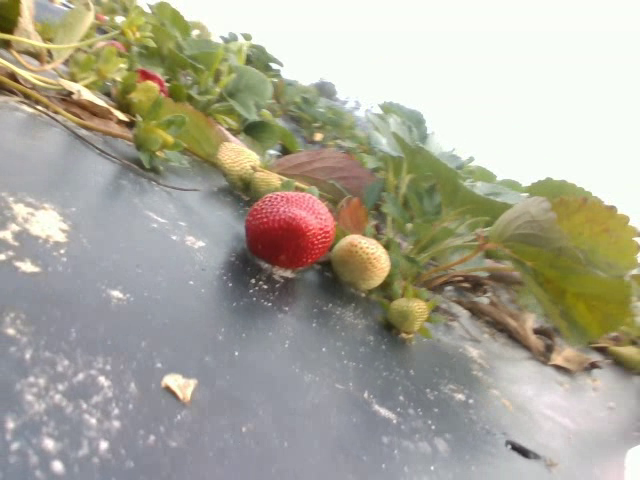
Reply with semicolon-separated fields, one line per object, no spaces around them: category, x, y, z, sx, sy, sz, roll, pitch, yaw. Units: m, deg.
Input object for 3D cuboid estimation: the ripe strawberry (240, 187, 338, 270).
ripe strawberry;-0.012;-0.007;0.263;0.050;0.034;0.059;27;-2;-14
